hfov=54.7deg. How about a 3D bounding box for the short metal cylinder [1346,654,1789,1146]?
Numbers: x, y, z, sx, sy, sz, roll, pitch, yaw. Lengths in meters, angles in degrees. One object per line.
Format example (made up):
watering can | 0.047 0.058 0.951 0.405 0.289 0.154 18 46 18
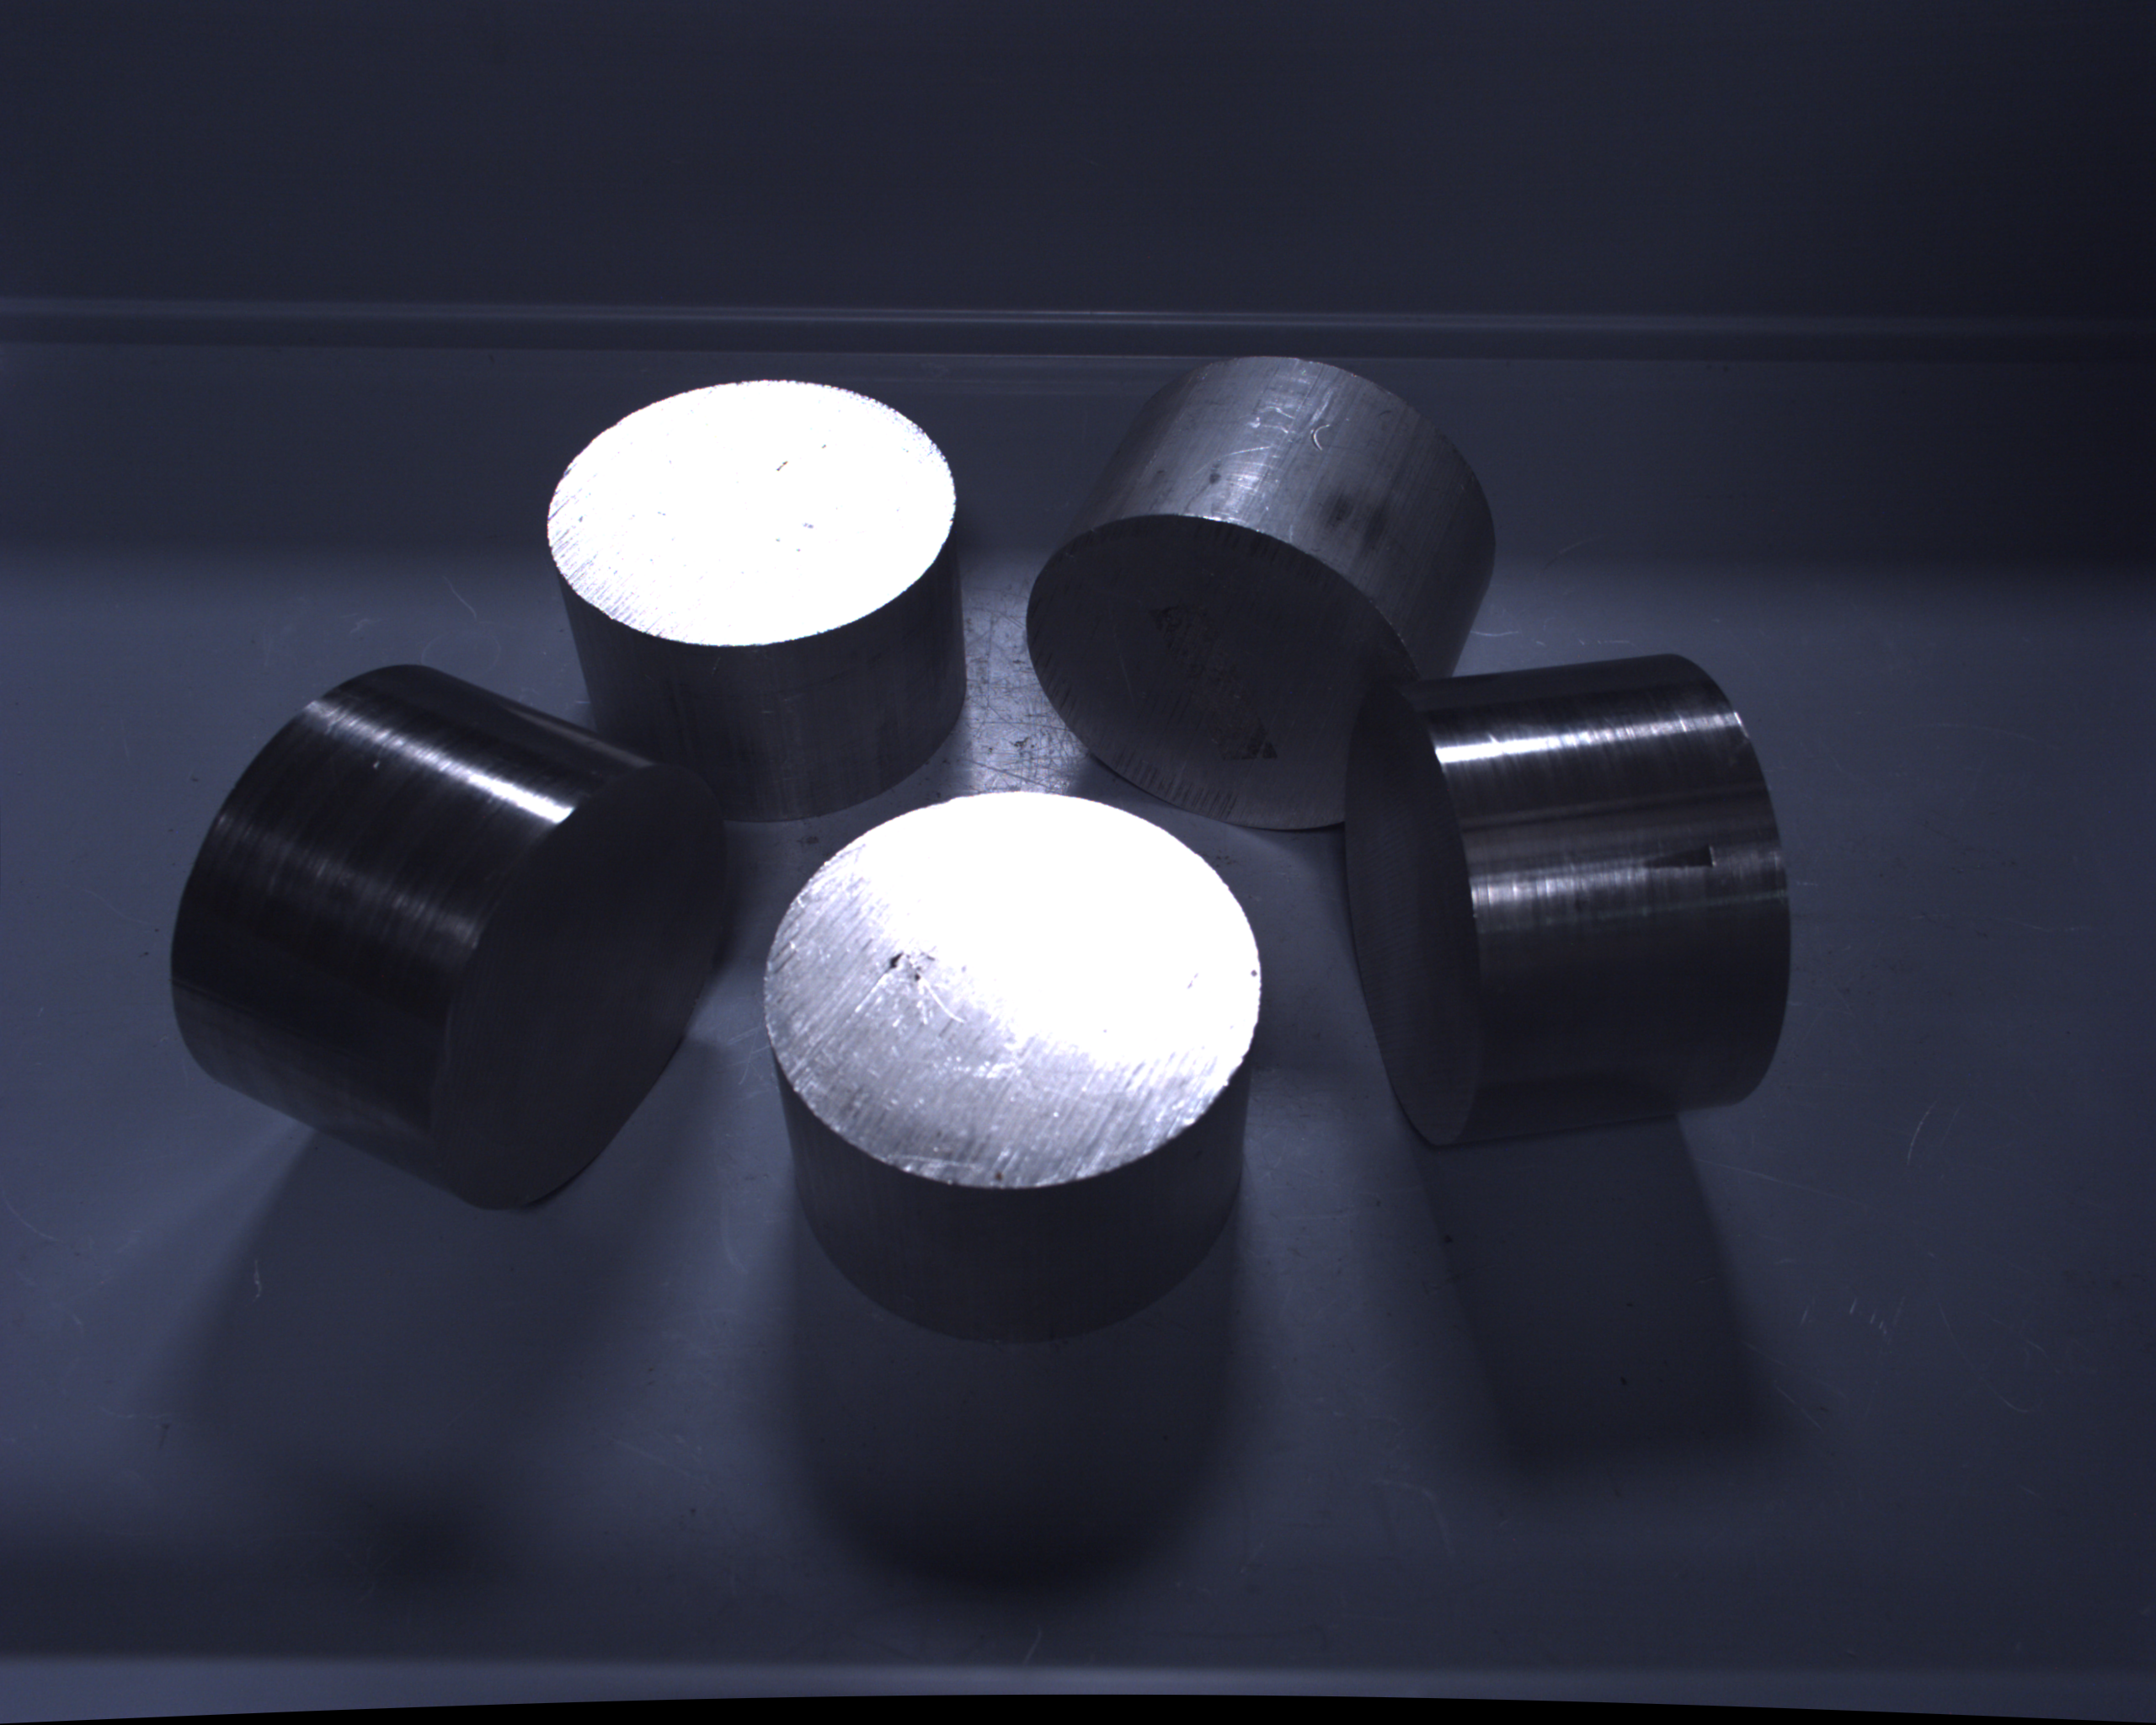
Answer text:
short metal cylinder | 0.082 0.006 0.363 0.050 0.080 0.080 -7 51 -6

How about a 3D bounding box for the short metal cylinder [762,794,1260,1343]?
short metal cylinder | -0.011 0.034 0.357 0.081 0.050 0.080 0 50 0

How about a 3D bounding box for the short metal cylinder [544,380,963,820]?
short metal cylinder | -0.065 -0.055 0.432 0.081 0.050 0.080 0 50 0

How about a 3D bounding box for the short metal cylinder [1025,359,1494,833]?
short metal cylinder | 0.036 -0.052 0.413 0.080 0.080 0.050 17 52 13

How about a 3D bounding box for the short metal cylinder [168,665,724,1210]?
short metal cylinder | -0.104 0.012 0.355 0.050 0.080 0.080 21 53 17
